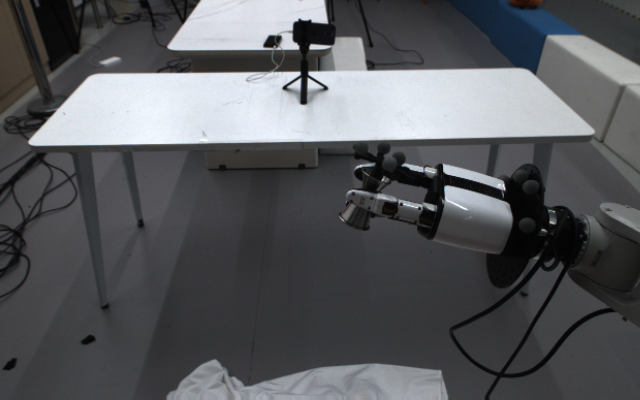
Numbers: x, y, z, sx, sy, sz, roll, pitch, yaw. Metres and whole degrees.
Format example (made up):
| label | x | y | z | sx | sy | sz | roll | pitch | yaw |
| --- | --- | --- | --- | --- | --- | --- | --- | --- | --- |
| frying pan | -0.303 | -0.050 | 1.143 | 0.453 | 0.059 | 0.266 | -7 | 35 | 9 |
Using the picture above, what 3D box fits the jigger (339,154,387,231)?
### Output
| label | x | y | z | sx | sy | sz | roll | pitch | yaw |
| --- | --- | --- | --- | --- | --- | --- | --- | --- | --- |
| jigger | 0.056 | -0.002 | 0.607 | 0.043 | 0.071 | 0.043 | 23 | 19 | -8 |
